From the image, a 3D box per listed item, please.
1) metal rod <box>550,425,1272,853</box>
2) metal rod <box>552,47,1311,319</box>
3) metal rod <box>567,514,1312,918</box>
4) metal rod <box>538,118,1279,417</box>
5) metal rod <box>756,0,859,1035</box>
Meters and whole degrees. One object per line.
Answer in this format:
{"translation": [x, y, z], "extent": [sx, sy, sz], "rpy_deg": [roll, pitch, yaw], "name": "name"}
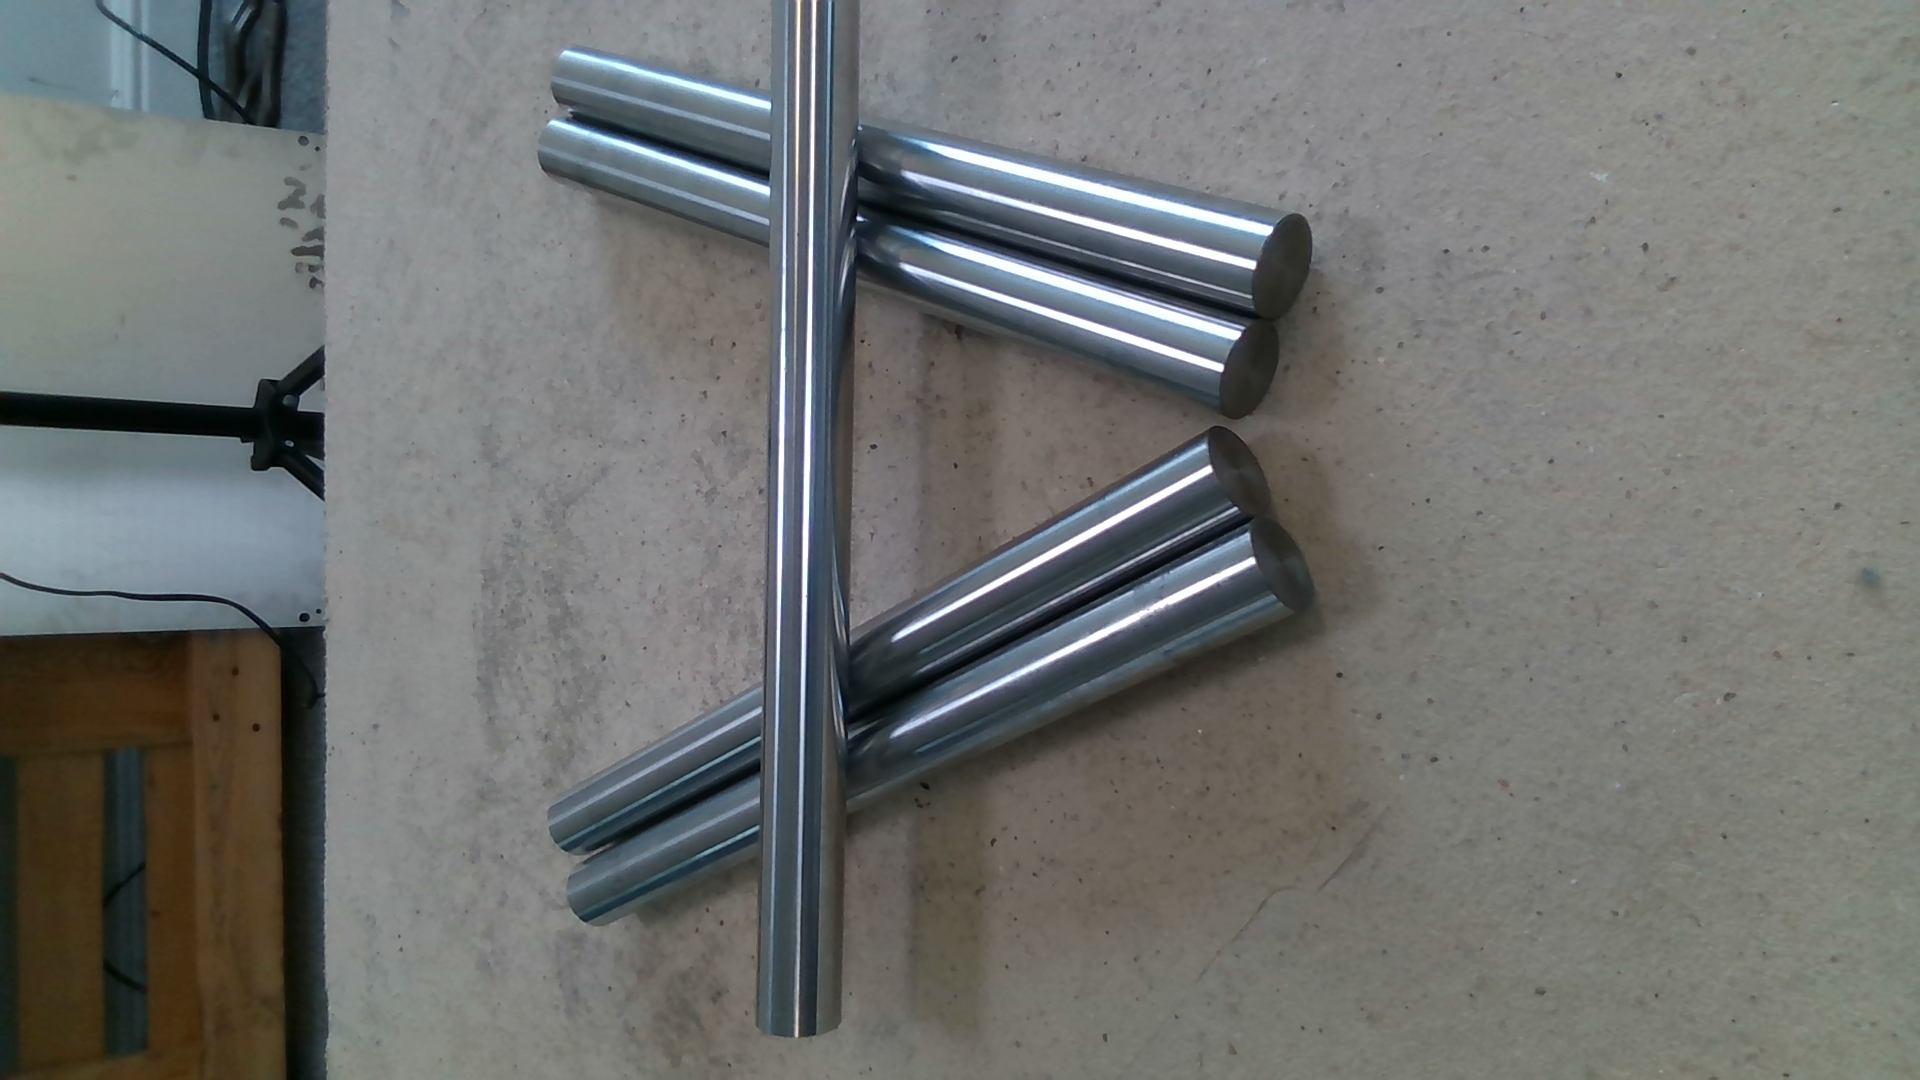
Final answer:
{"translation": [-0.036, 0.044, 0.423], "extent": [0.300, 0.025, 0.025], "rpy_deg": [-30, 71, 36], "name": "metal rod"}
{"translation": [-0.031, -0.116, 0.416], "extent": [0.299, 0.025, 0.025], "rpy_deg": [26, 107, 37], "name": "metal rod"}
{"translation": [-0.028, 0.066, 0.416], "extent": [0.300, 0.025, 0.025], "rpy_deg": [-30, 71, 36], "name": "metal rod"}
{"translation": [-0.038, -0.093, 0.422], "extent": [0.300, 0.025, 0.025], "rpy_deg": [25, 106, 37], "name": "metal rod"}
{"translation": [-0.044, -0.011, 0.395], "extent": [0.025, 0.025, 0.300], "rpy_deg": [2, 92, 40], "name": "metal rod"}
